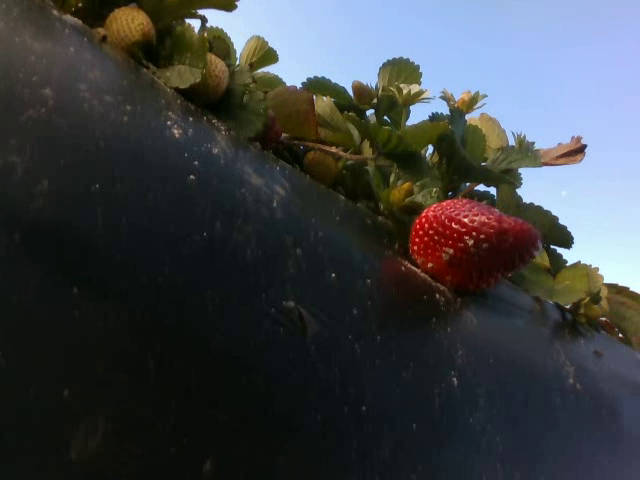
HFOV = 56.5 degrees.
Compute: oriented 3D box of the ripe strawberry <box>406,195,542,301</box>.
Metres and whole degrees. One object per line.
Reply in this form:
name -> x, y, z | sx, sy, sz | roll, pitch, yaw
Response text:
ripe strawberry -> 0.075, -0.002, 0.278 | 0.052, 0.045, 0.067 | 30, -13, -20
